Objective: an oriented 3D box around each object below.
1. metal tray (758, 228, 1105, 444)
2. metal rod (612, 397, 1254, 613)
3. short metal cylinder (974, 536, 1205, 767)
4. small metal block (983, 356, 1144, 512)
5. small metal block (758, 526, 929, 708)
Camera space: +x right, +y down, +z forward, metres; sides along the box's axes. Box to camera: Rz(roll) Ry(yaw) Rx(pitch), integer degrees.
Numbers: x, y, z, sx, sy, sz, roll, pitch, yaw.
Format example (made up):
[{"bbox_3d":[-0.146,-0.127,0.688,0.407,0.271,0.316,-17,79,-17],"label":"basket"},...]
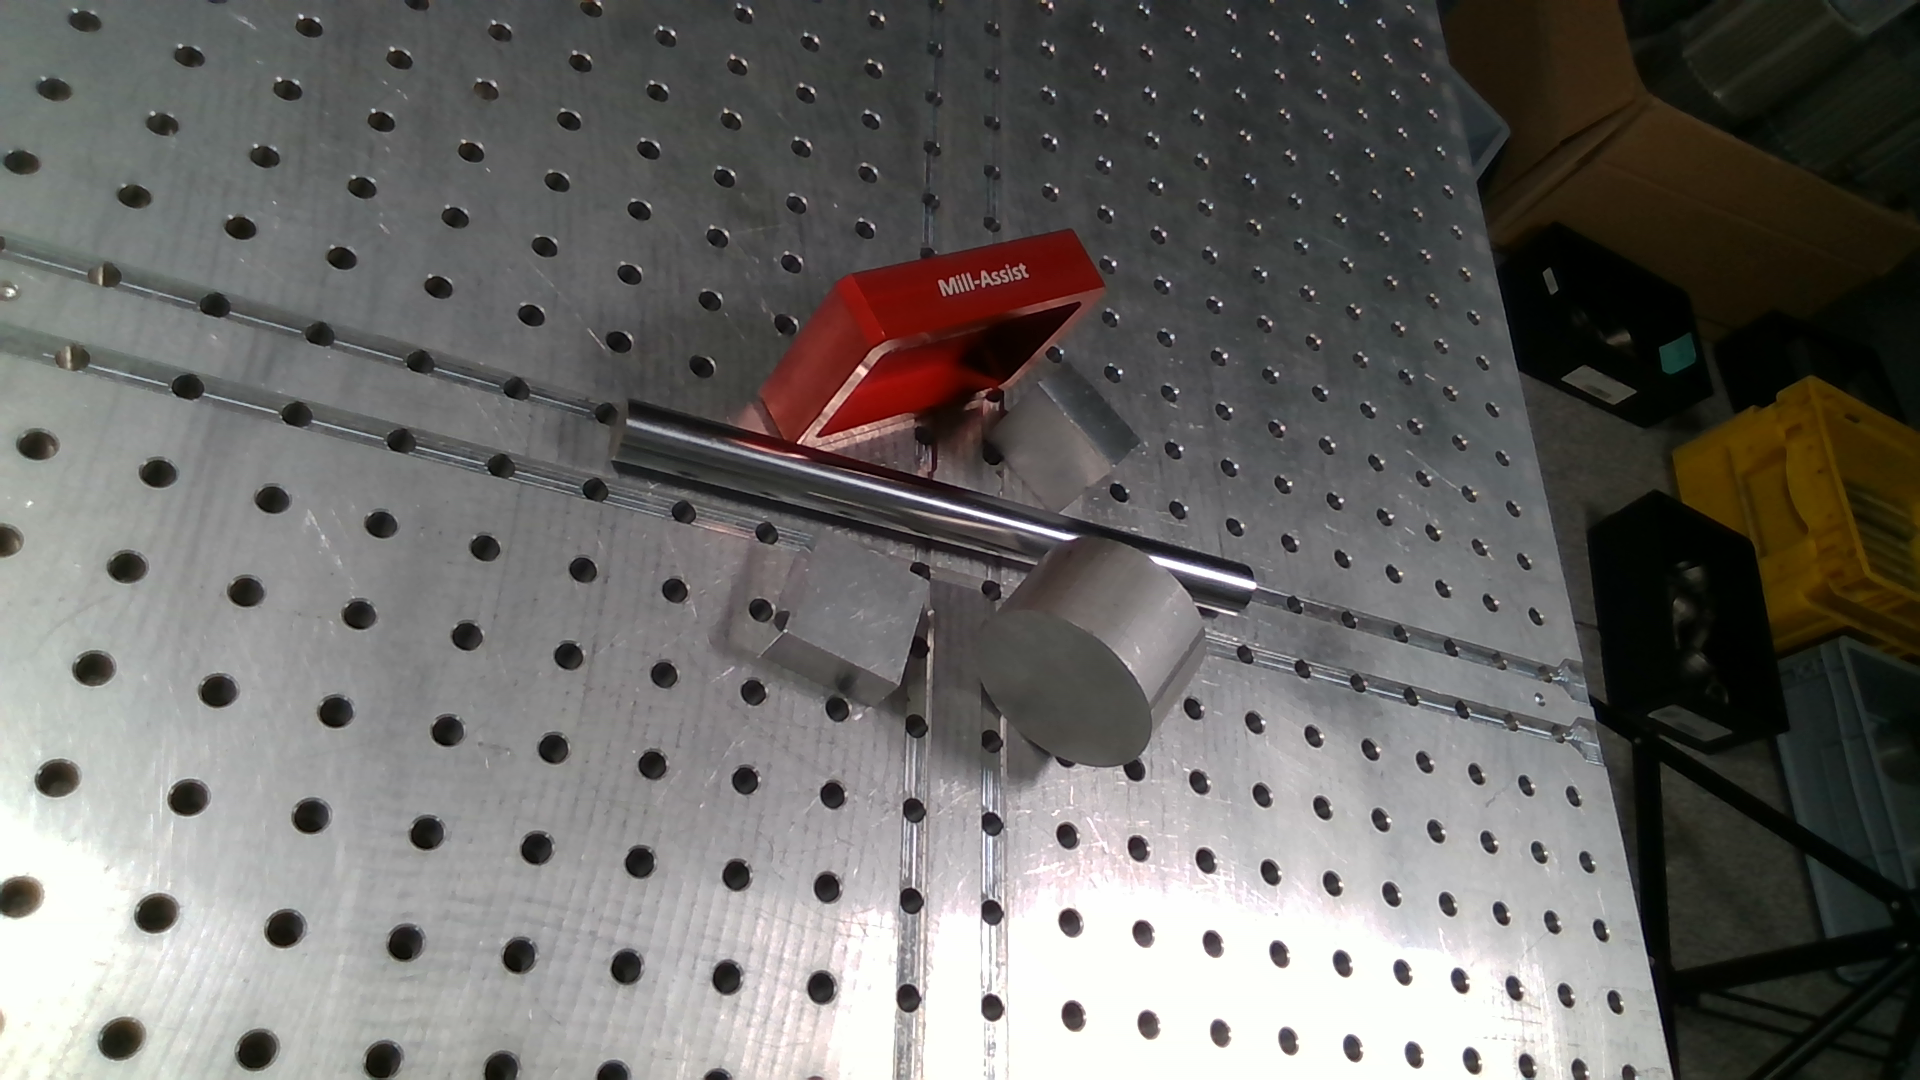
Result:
[{"bbox_3d":[-0.011,-0.086,0.585,0.130,0.090,0.030,-21,77,-37],"label":"metal tray"},{"bbox_3d":[0.000,-0.010,0.594,0.300,0.025,0.025,14,59,-25],"label":"metal rod"},{"bbox_3d":[0.053,0.045,0.562,0.080,0.080,0.050,46,51,-3],"label":"short metal cylinder"},{"bbox_3d":[0.046,-0.047,0.625,0.050,0.050,0.025,48,51,0],"label":"small metal block"},{"bbox_3d":[-0.046,0.031,0.545,0.050,0.025,0.050,28,54,-16],"label":"small metal block"}]
